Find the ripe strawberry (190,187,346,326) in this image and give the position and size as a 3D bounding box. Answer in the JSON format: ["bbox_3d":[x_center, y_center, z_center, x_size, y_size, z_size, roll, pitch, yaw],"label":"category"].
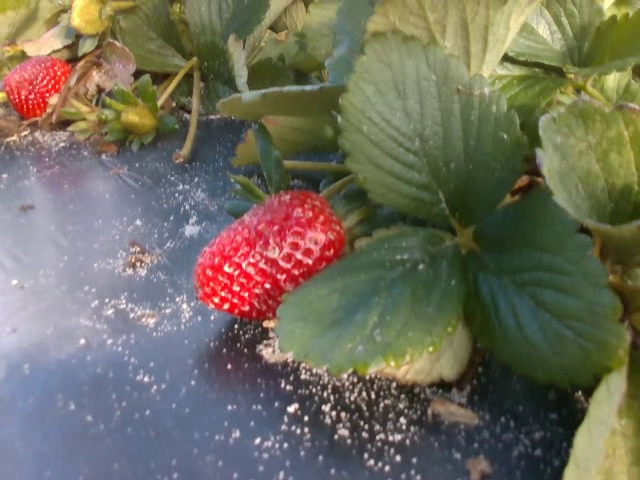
[{"bbox_3d":[-0.012,0.002,0.114,0.036,0.021,0.029,-25,28,-29],"label":"ripe strawberry"}]
